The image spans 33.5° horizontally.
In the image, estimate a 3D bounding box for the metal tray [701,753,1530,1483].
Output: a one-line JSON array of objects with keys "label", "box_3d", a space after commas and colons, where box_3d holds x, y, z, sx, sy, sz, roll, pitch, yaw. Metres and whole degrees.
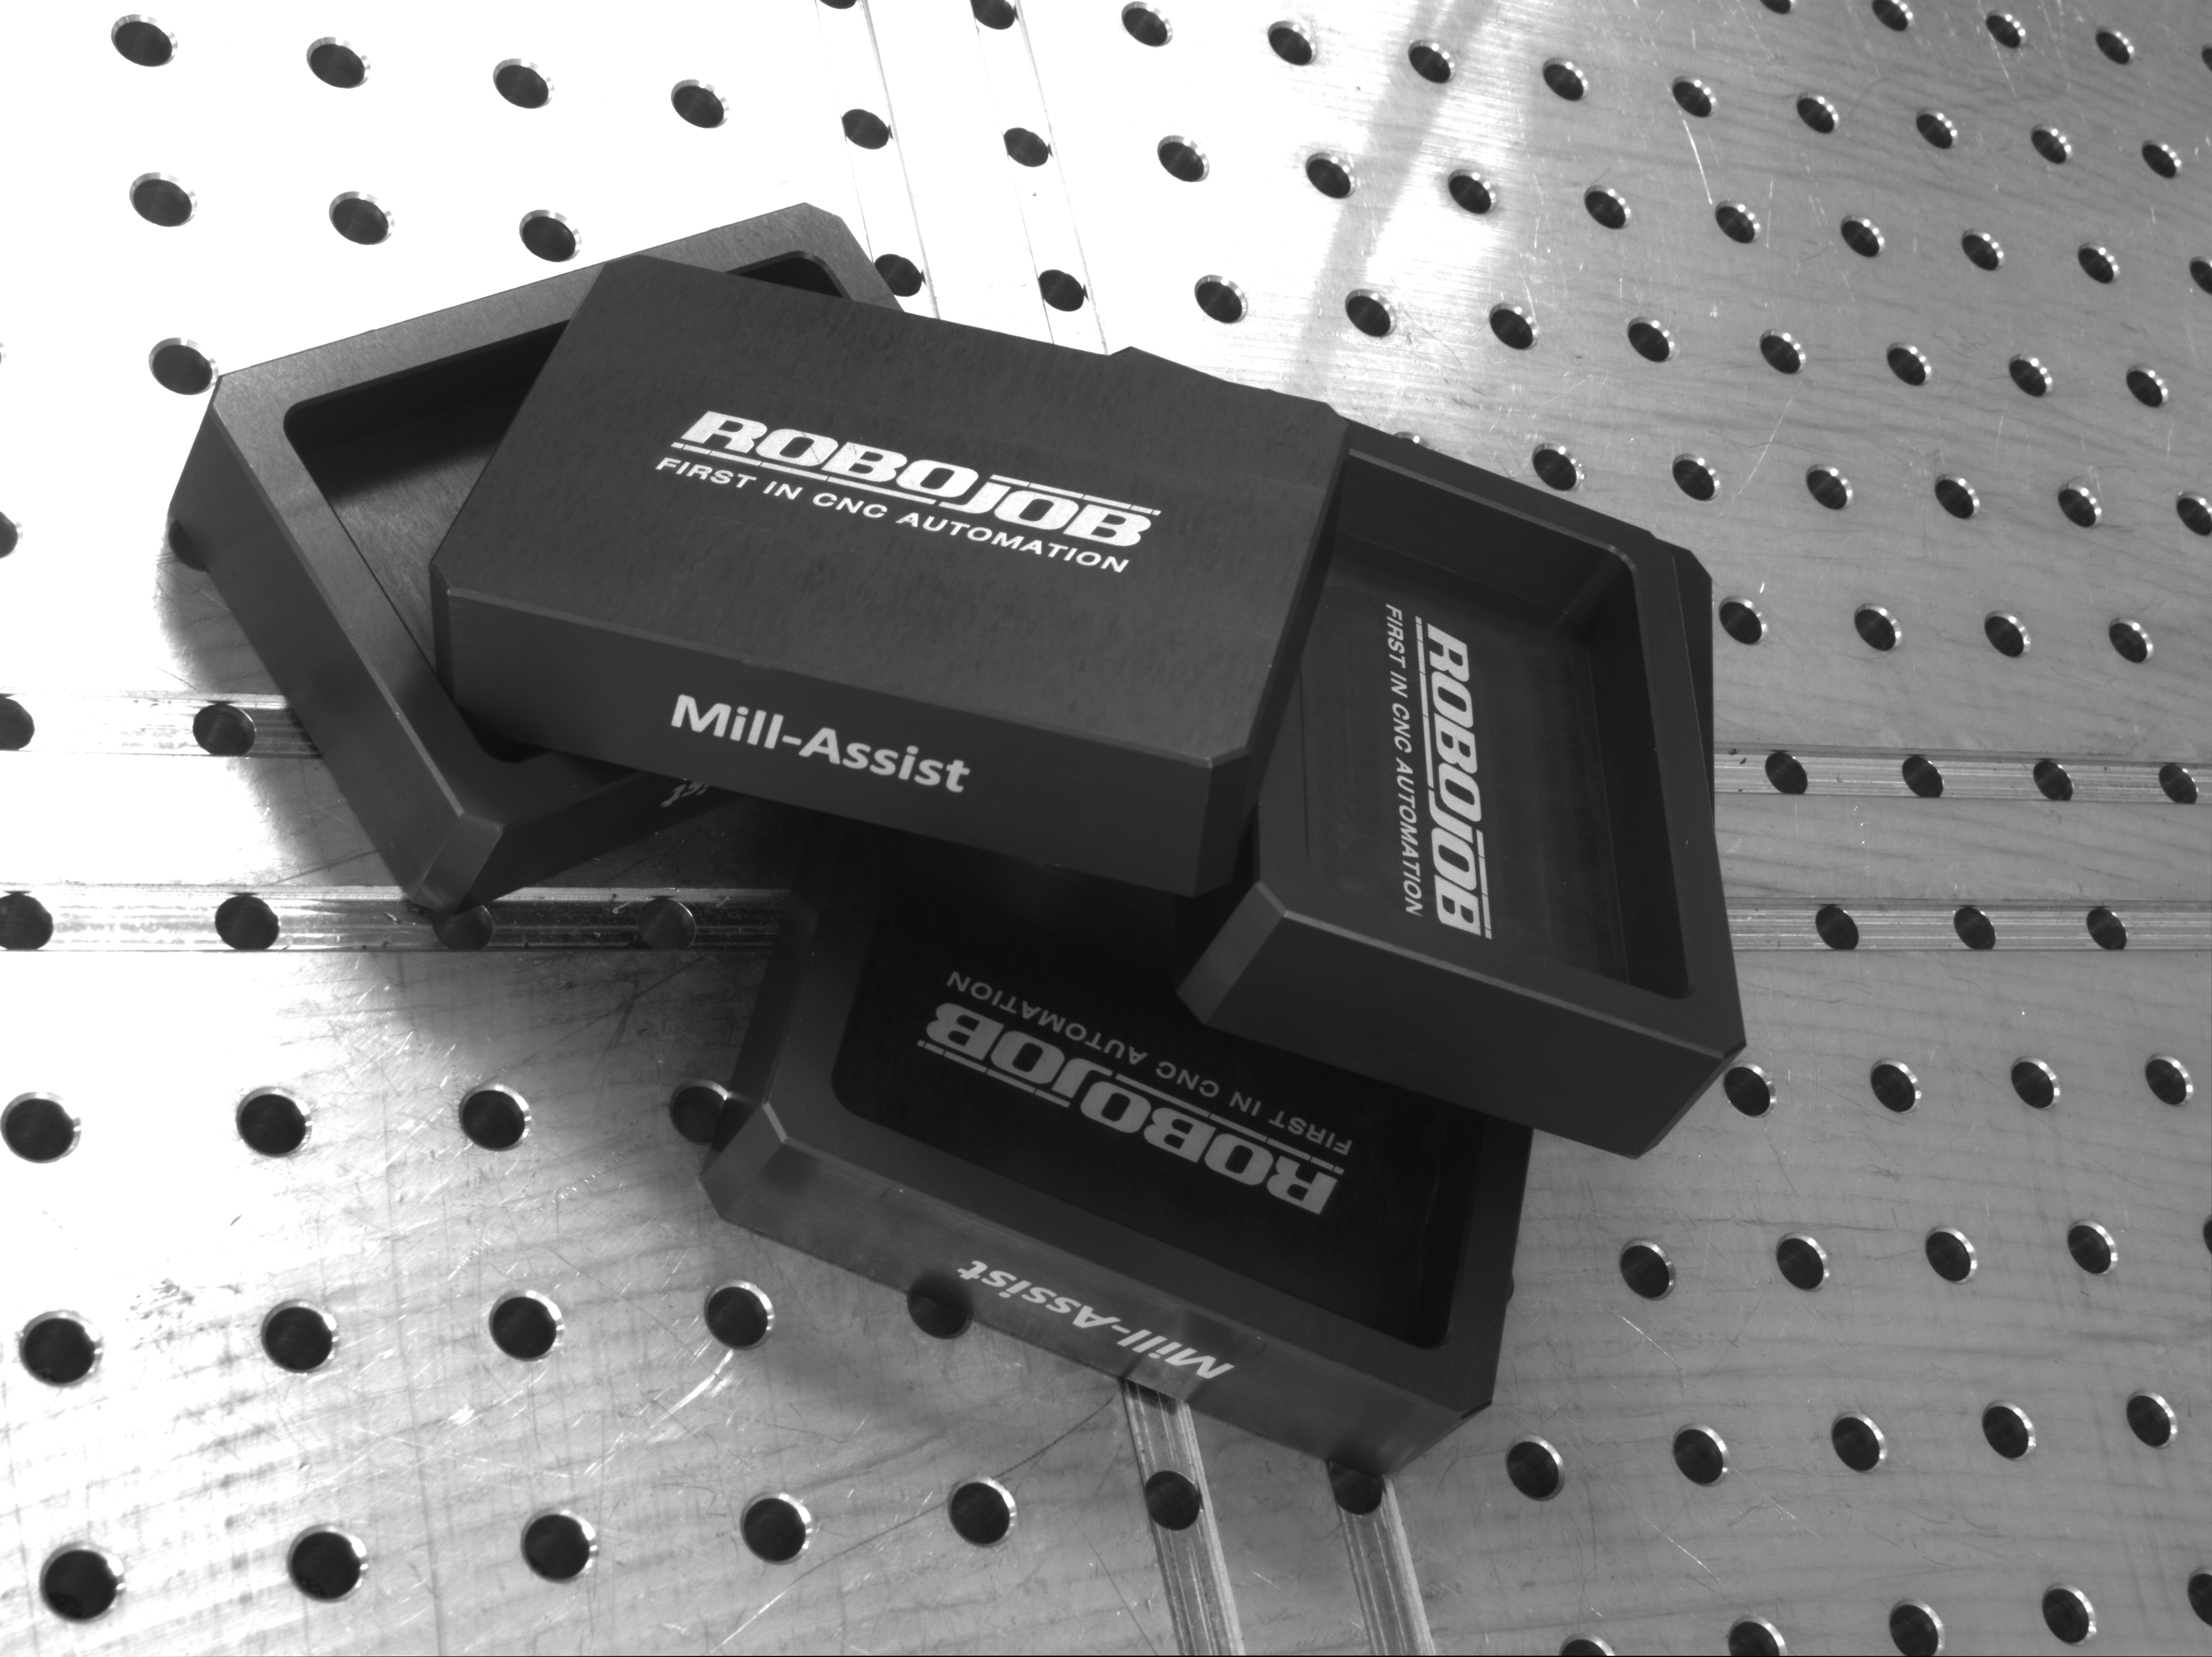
[{"label": "metal tray", "box_3d": [0.007, 0.044, 0.616, 0.130, 0.030, 0.090, 24, 53, -14]}]

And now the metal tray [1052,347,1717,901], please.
[{"label": "metal tray", "box_3d": [0.050, -0.028, 0.681, 0.130, 0.030, 0.090, 17, 54, -17]}]

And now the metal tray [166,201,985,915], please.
[{"label": "metal tray", "box_3d": [-0.080, -0.049, 0.626, 0.130, 0.030, 0.090, -25, 75, -36]}]

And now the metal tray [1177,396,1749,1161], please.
[{"label": "metal tray", "box_3d": [0.059, -0.012, 0.638, 0.090, 0.030, 0.130, 18, 43, -17]}]

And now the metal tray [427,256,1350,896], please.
[{"label": "metal tray", "box_3d": [-0.033, -0.043, 0.596, 0.130, 0.030, 0.090, 13, 45, 6]}]
